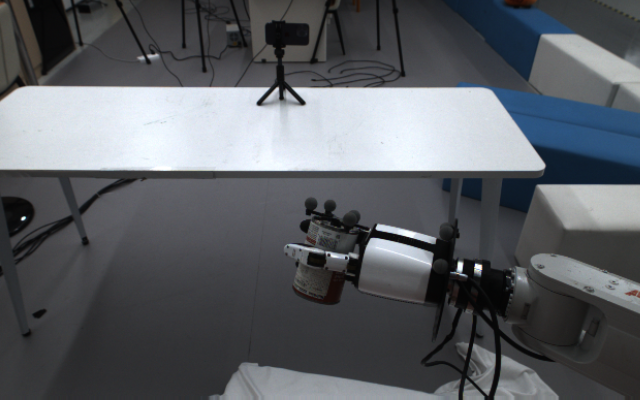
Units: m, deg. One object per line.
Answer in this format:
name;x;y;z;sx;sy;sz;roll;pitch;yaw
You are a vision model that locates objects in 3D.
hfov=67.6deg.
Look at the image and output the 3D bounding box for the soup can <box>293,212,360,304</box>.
soup can;0.009;0.079;0.646;0.067;0.101;0.067;15;7;-2
